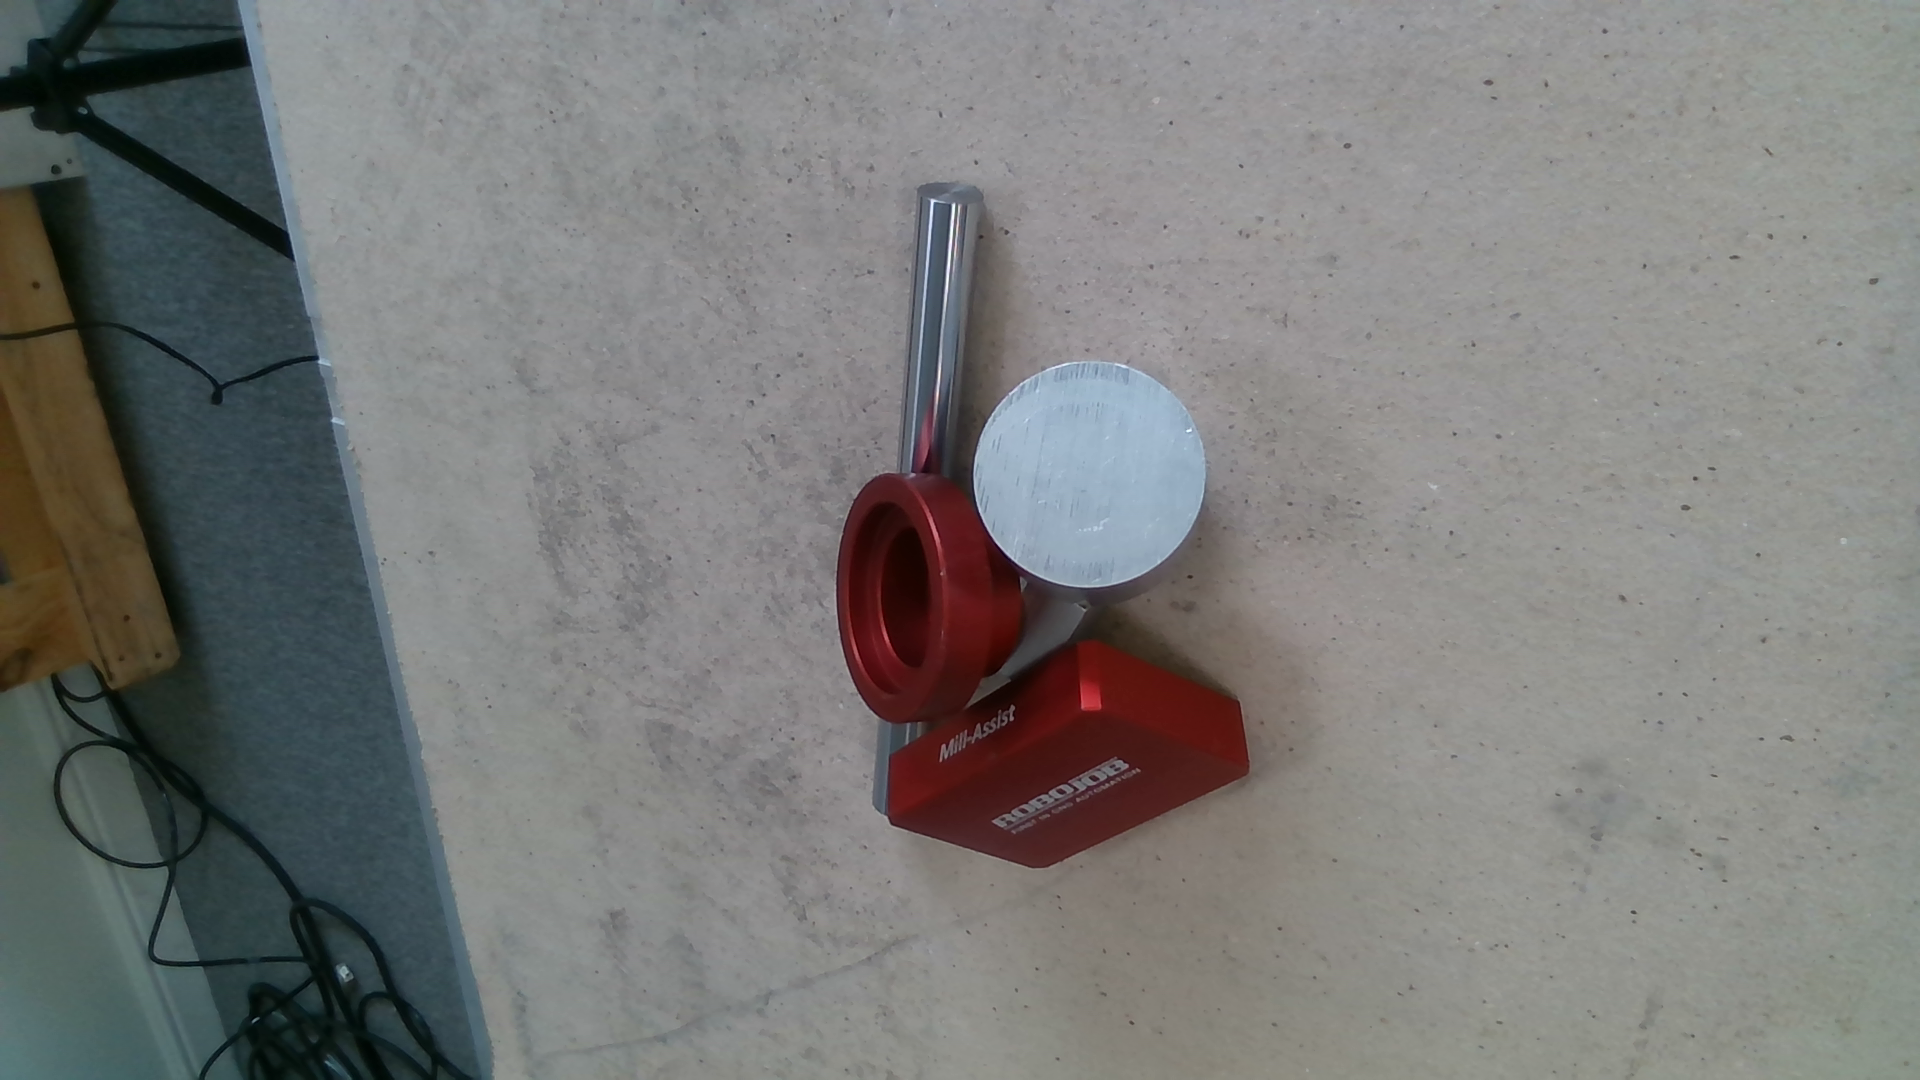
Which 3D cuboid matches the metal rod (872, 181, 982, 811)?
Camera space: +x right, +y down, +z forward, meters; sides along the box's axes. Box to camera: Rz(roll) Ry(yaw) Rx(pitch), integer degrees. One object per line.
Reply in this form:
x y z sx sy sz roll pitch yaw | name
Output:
-0.017 -0.002 0.590 0.025 0.025 0.301 20 124 21 | metal rod

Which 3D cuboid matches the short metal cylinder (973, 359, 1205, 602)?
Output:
0.047 -0.020 0.499 0.080 0.050 0.080 -1 80 8 | short metal cylinder

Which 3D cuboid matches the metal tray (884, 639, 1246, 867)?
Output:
0.041 0.093 0.570 0.090 0.030 0.130 24 138 -31 | metal tray

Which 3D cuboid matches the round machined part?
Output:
-0.011 0.022 0.548 0.098 0.042 0.098 6 97 61 | round machined part

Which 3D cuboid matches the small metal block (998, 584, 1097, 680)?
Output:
0.039 0.027 0.553 0.025 0.050 0.050 35 128 11 | small metal block
